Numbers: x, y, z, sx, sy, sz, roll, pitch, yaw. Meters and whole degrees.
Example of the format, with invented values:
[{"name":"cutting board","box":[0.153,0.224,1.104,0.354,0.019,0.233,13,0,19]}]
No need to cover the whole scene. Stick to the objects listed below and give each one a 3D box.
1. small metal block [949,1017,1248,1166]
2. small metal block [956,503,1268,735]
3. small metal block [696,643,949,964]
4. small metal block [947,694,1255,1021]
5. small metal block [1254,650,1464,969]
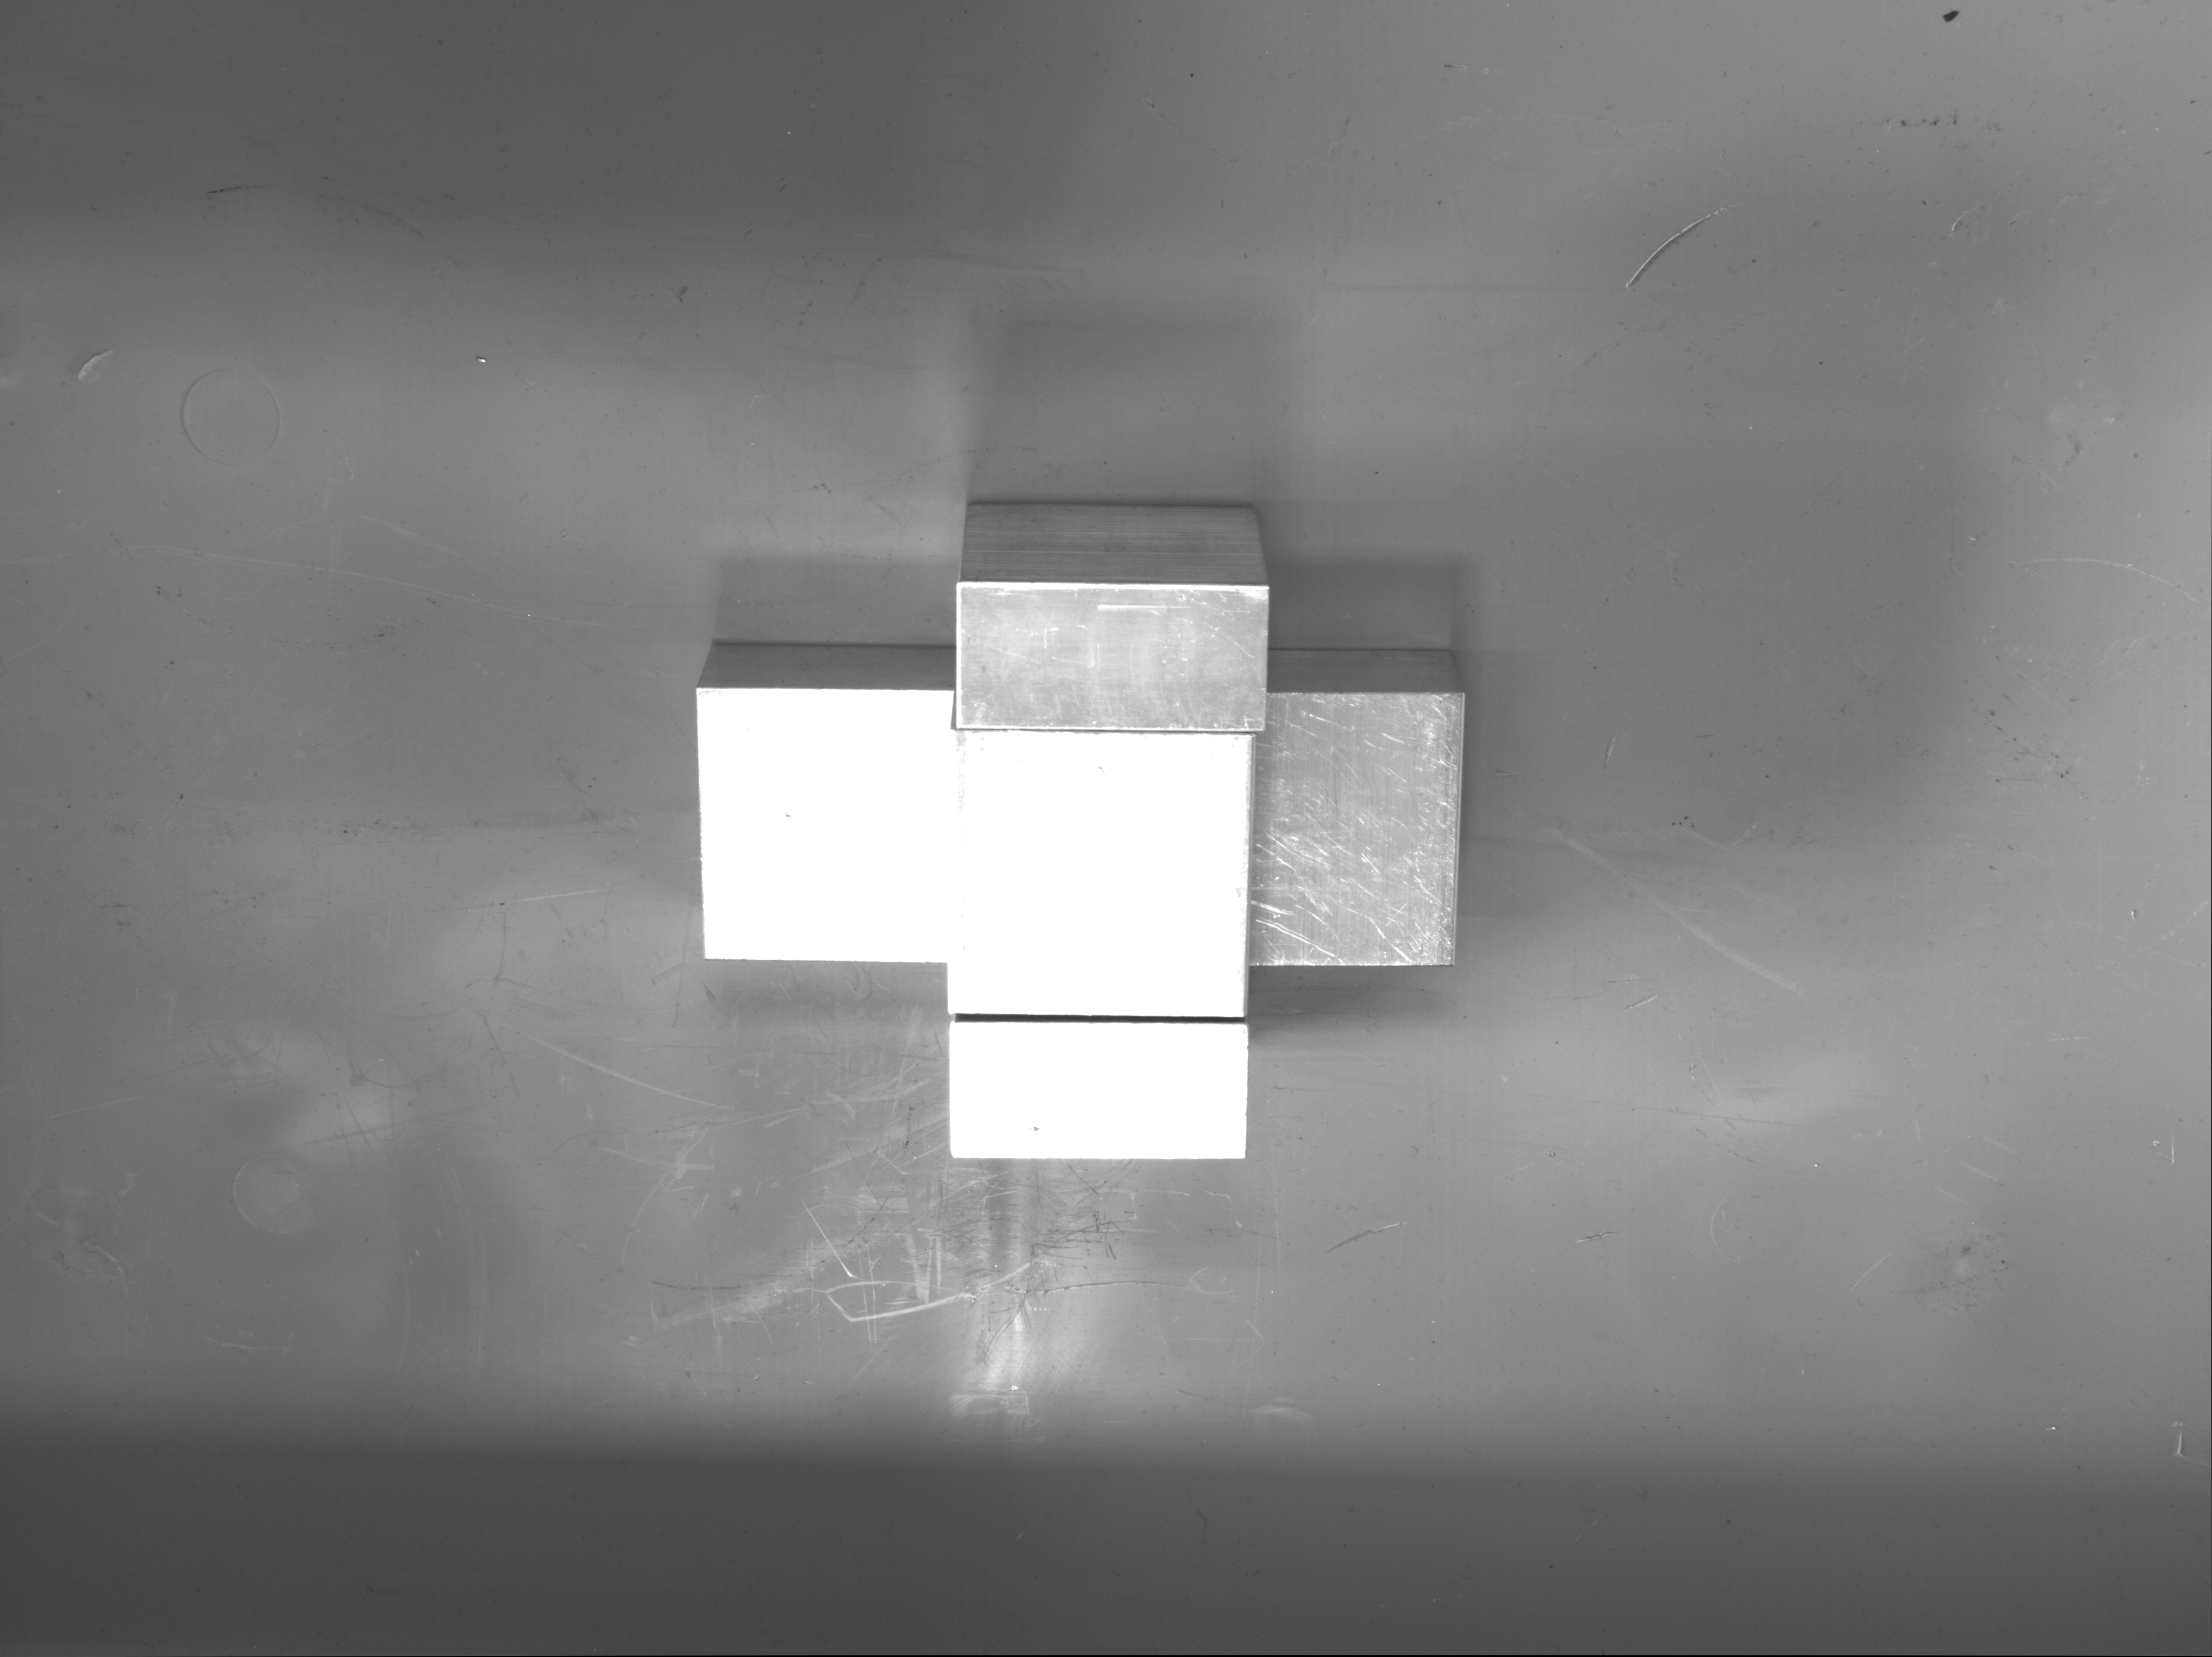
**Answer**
[{"name":"small metal block","box":[-0.001,0.037,0.641,0.050,0.050,0.025,1,110,0]},{"name":"small metal block","box":[0.001,-0.036,0.615,0.050,0.050,0.025,1,110,0]},{"name":"small metal block","box":[-0.044,-0.004,0.640,0.050,0.025,0.050,1,110,0]},{"name":"small metal block","box":[-0.001,0.004,0.616,0.050,0.025,0.050,1,110,0]},{"name":"small metal block","box":[0.035,-0.004,0.641,0.050,0.025,0.050,1,110,0]}]
